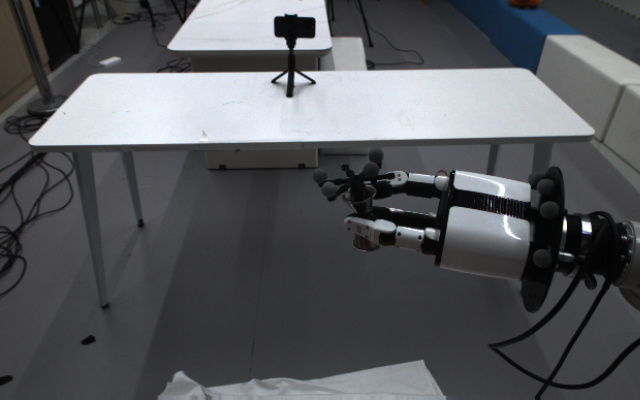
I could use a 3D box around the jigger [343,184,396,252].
[{"bbox_3d":[0.053,0.021,0.570,0.043,0.071,0.043,-12,29,7],"label":"jigger"}]
